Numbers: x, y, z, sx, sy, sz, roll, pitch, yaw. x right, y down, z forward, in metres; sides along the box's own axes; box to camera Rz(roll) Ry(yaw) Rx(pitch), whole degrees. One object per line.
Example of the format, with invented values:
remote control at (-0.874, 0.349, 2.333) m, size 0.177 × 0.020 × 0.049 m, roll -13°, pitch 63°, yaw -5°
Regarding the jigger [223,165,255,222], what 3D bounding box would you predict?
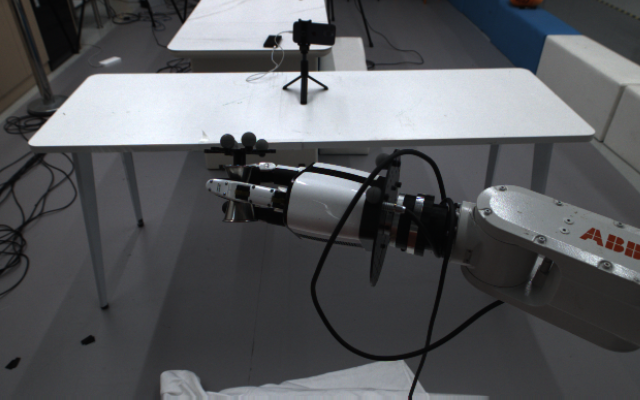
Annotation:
jigger at (-0.097, -0.008, 0.594) m, size 0.043 × 0.071 × 0.043 m, roll 0°, pitch 2°, yaw 0°
